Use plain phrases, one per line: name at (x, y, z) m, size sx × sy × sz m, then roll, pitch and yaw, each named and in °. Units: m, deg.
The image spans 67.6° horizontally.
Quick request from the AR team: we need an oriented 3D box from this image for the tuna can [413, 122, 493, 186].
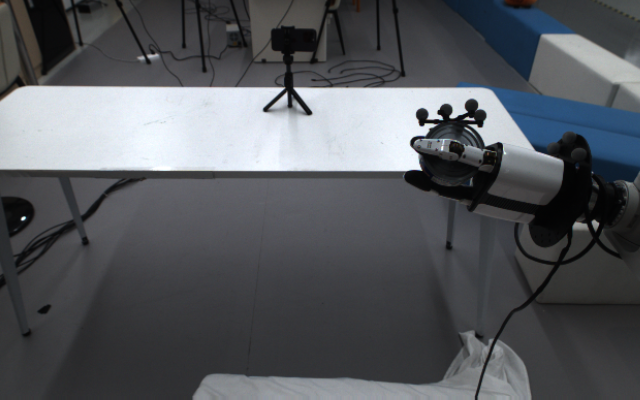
tuna can at (0.181, -0.065, 0.667) m, size 0.085 × 0.034 × 0.085 m, roll -1°, pitch 74°, yaw 4°
